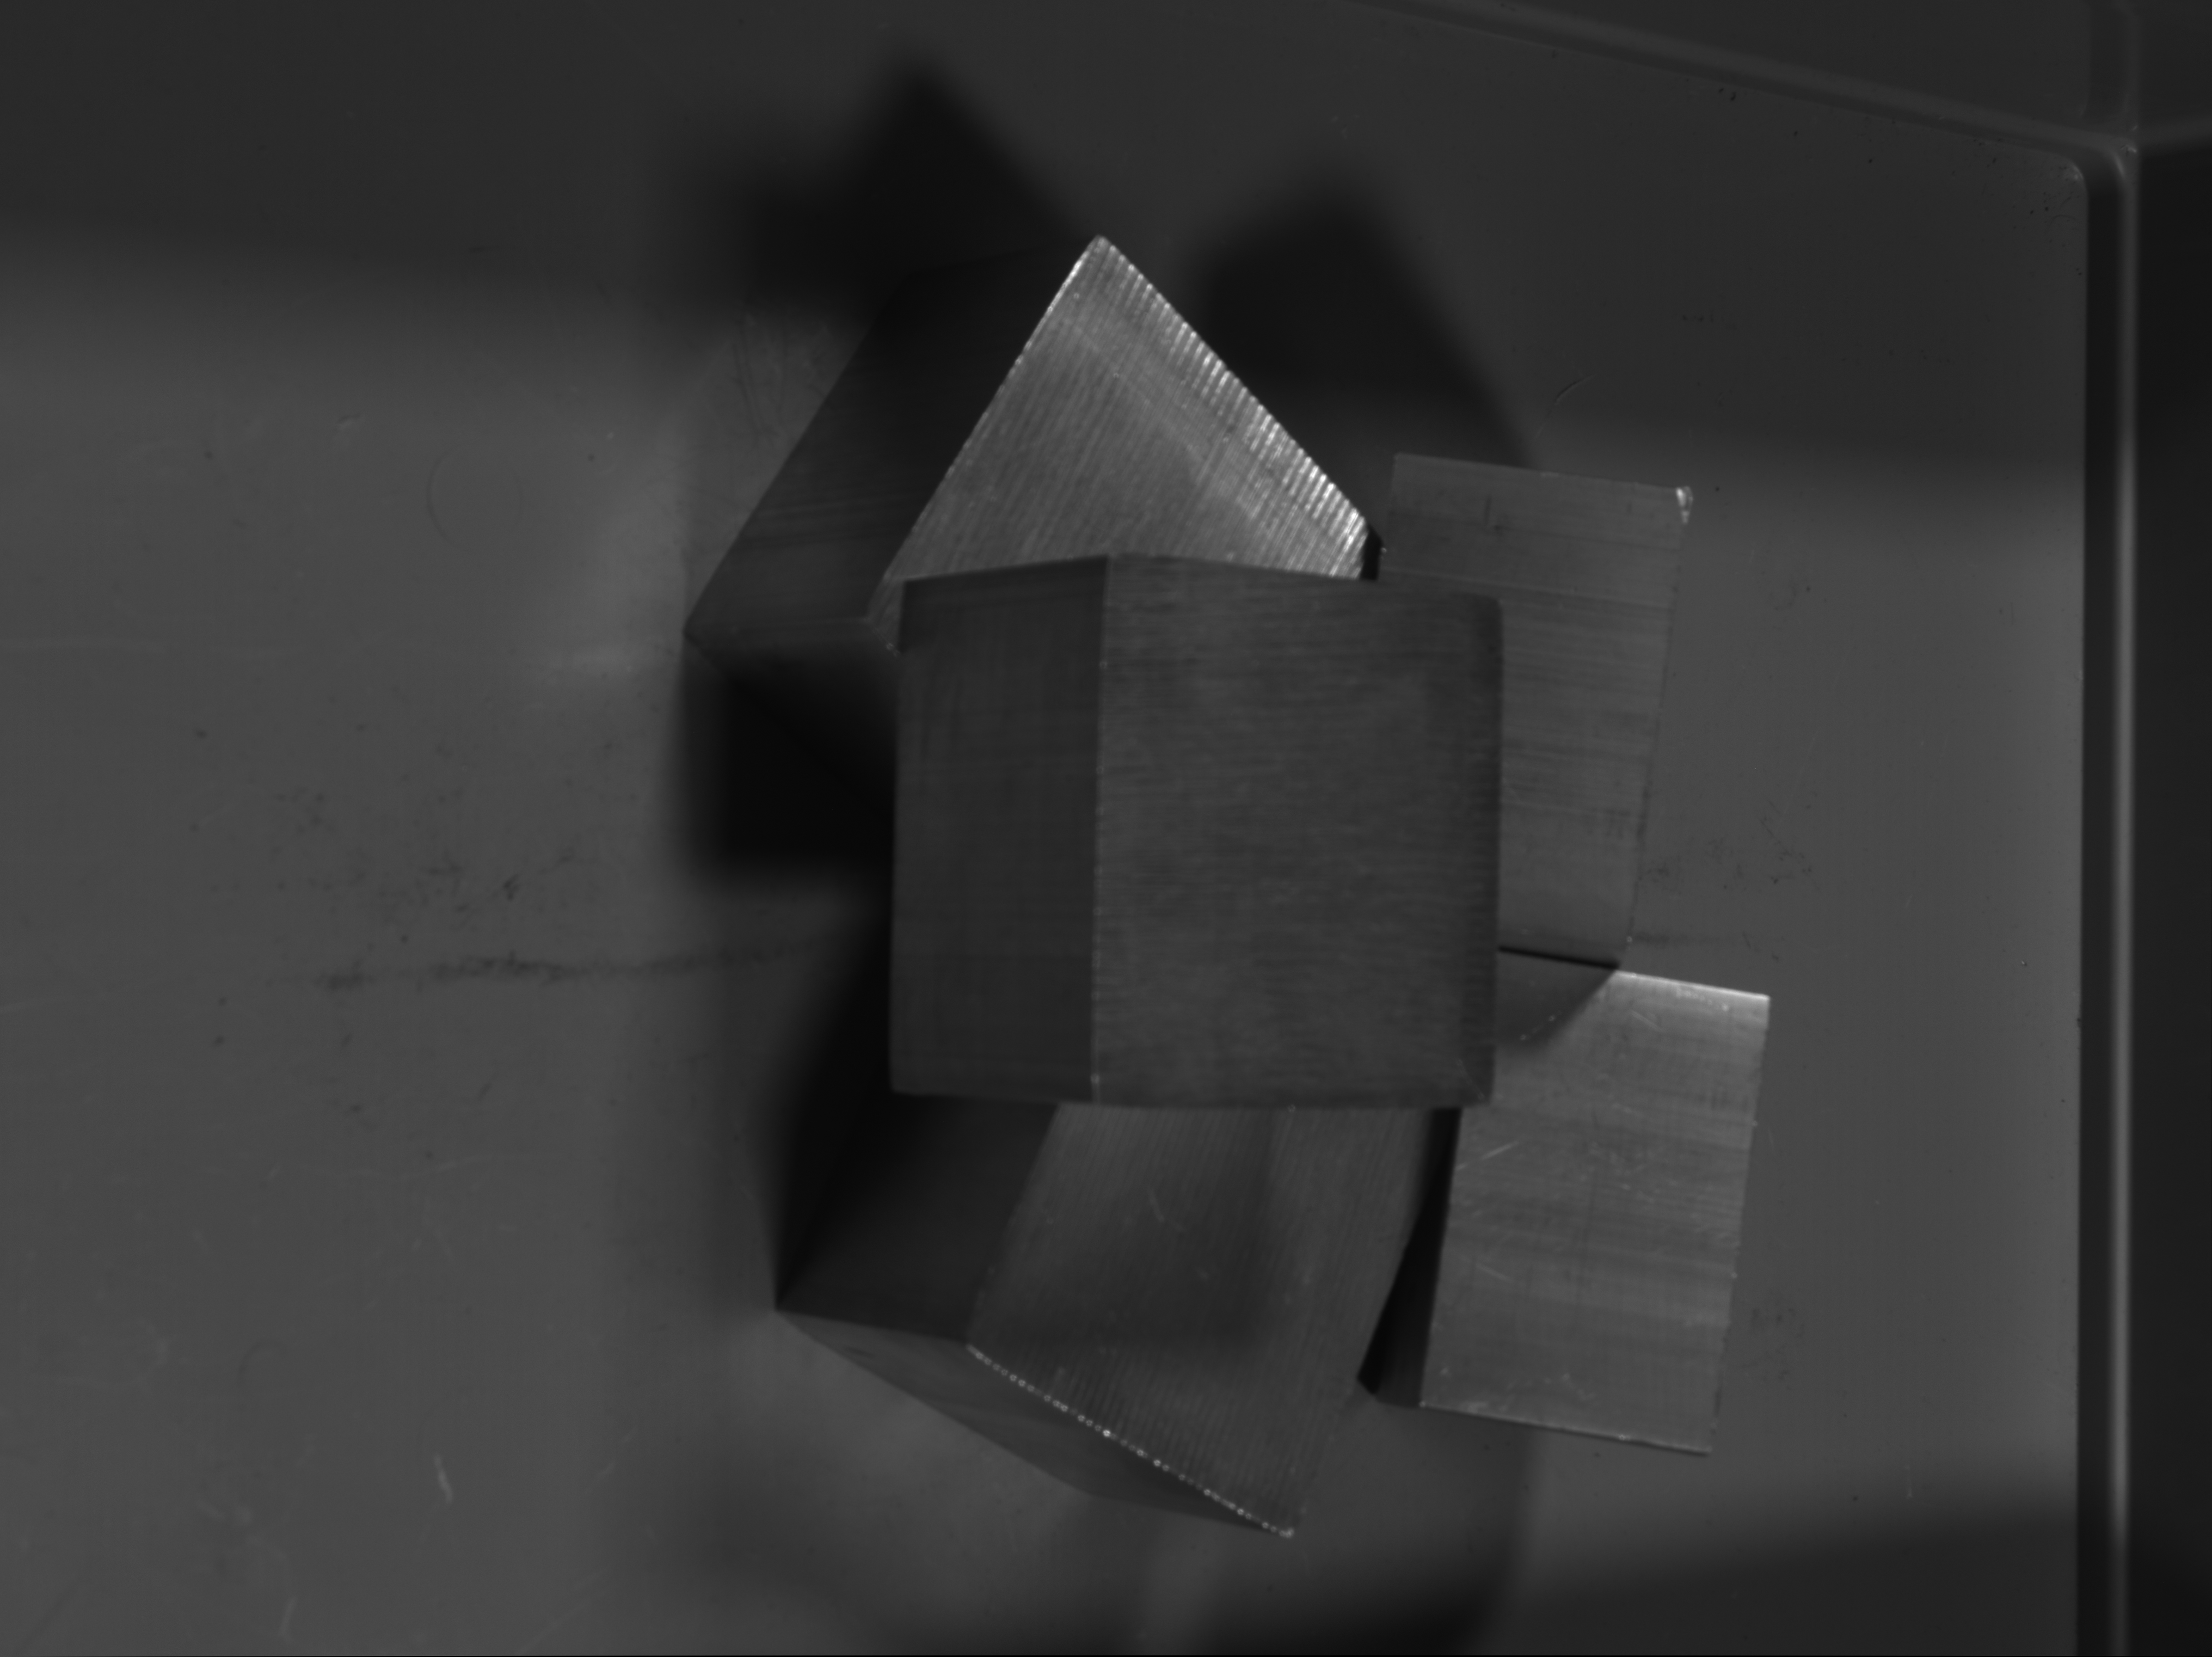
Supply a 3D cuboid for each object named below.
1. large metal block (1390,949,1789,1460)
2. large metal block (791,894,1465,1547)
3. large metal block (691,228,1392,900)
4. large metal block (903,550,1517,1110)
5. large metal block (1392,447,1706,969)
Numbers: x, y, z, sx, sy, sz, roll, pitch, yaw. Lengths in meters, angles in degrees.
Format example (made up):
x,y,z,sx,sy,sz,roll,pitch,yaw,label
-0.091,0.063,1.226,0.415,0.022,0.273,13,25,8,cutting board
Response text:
x,y,z,sx,sy,sz,roll,pitch,yaw,label
0.086,0.069,0.663,0.050,0.080,0.080,9,82,0,large metal block
0.006,0.065,0.621,0.080,0.050,0.080,37,67,-34,large metal block
-0.009,-0.041,0.613,0.080,0.050,0.080,44,64,-31,large metal block
0.017,0.003,0.567,0.080,0.050,0.080,3,86,-39,large metal block
0.074,-0.016,0.653,0.080,0.050,0.080,60,38,-81,large metal block
